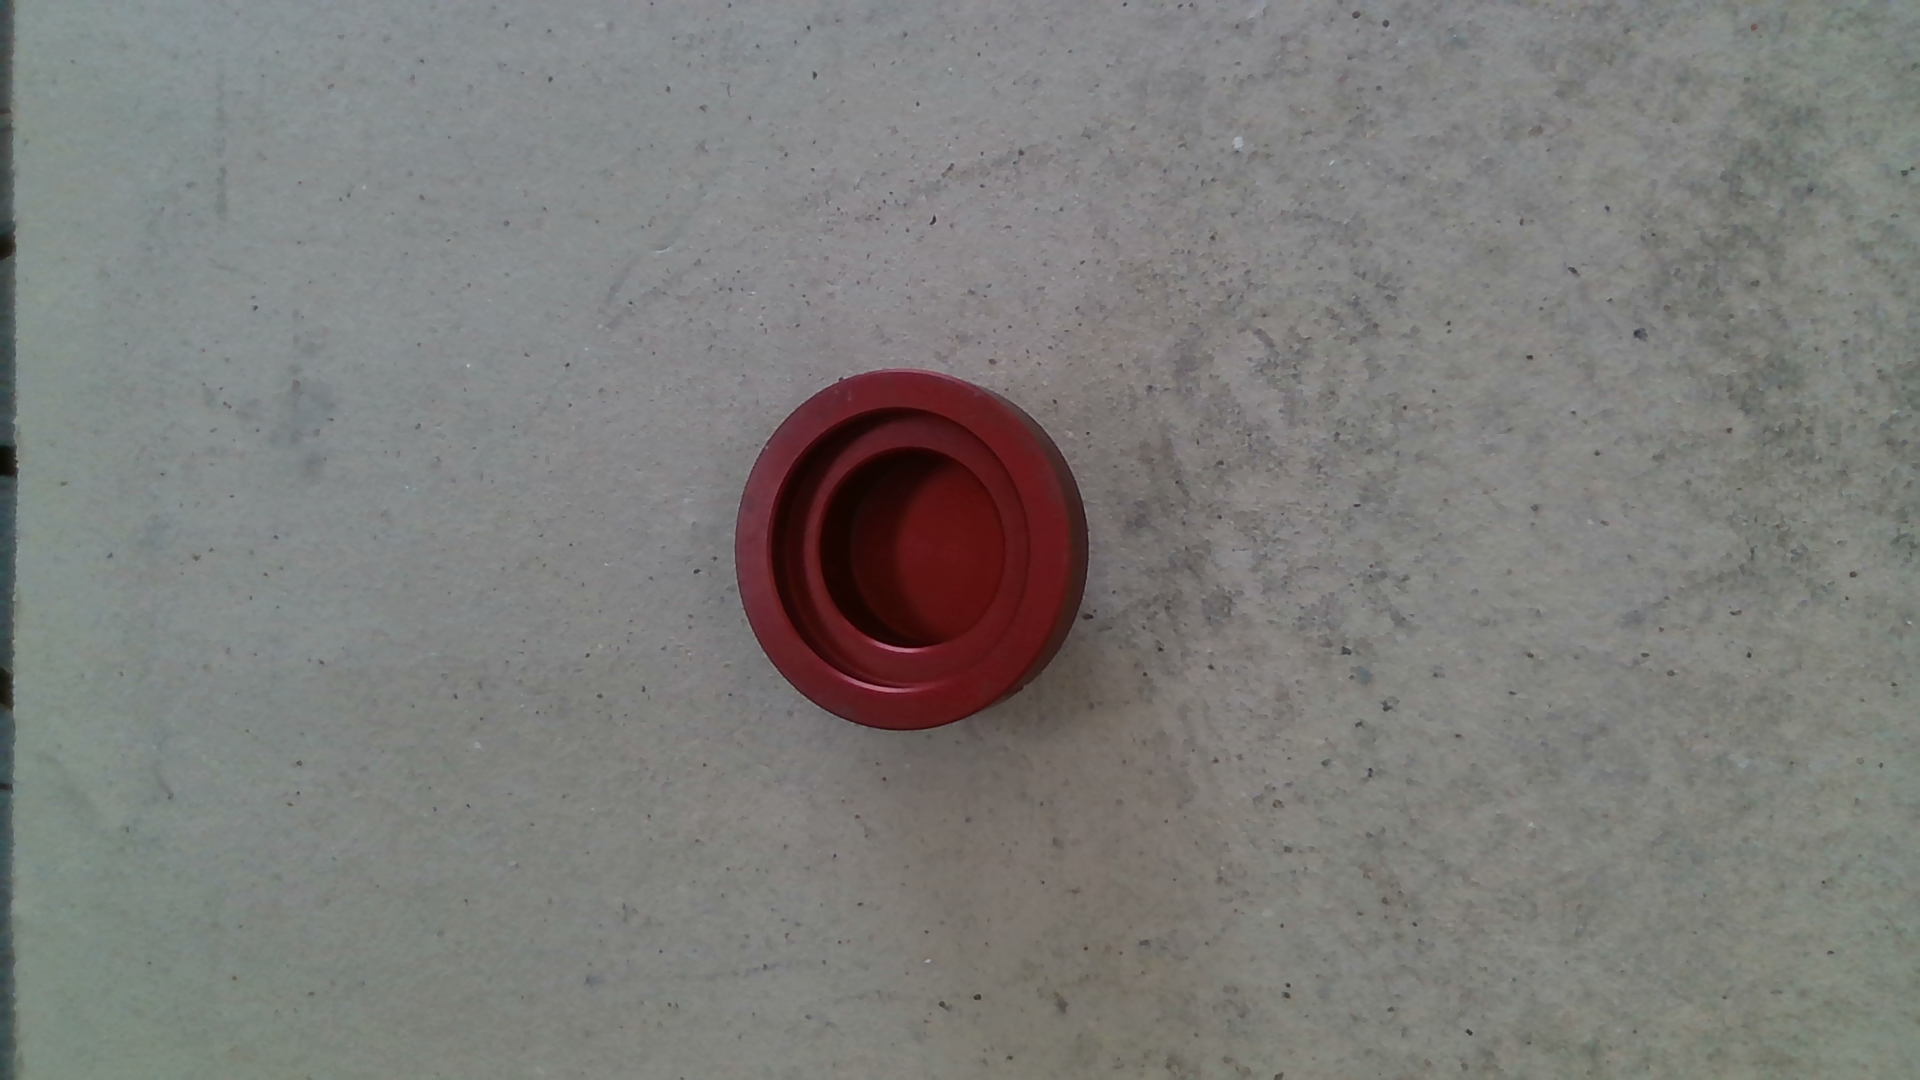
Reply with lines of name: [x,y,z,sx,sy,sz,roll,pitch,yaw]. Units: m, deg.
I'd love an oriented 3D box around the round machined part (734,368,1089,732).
round machined part: [-0.011,0.003,0.389,0.098,0.042,0.098,0,90,20]
